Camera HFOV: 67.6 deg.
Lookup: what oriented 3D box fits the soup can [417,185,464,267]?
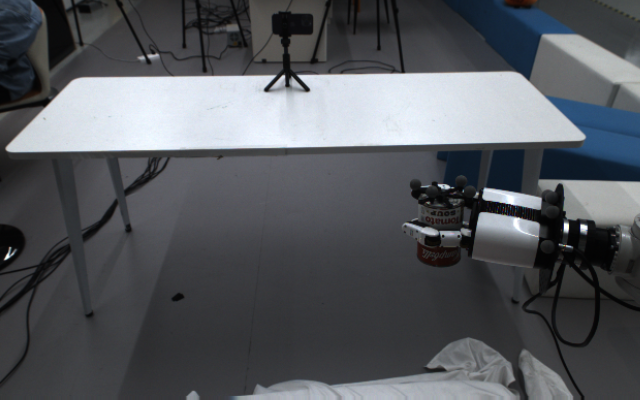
[{"bbox_3d":[0.184,0.040,0.737,0.067,0.101,0.067,-3,26,2],"label":"soup can"}]
